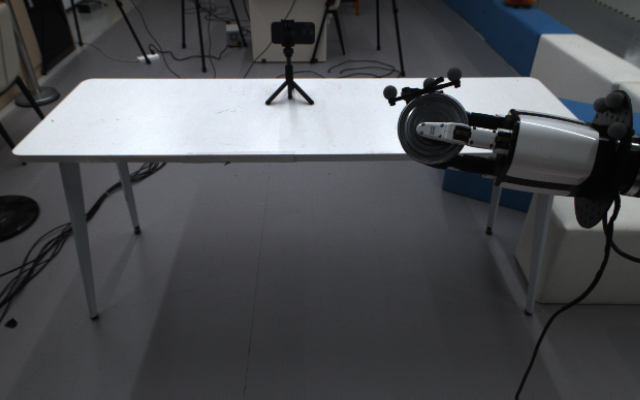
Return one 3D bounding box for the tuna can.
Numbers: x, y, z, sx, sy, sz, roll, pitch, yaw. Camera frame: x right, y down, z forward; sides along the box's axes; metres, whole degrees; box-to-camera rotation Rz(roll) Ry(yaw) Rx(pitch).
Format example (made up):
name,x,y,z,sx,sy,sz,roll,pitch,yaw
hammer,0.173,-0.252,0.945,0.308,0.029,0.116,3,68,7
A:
name,x,y,z,sx,sy,sz,roll,pitch,yaw
tuna can,0.141,-0.089,0.597,0.085,0.085,0.034,12,3,14
